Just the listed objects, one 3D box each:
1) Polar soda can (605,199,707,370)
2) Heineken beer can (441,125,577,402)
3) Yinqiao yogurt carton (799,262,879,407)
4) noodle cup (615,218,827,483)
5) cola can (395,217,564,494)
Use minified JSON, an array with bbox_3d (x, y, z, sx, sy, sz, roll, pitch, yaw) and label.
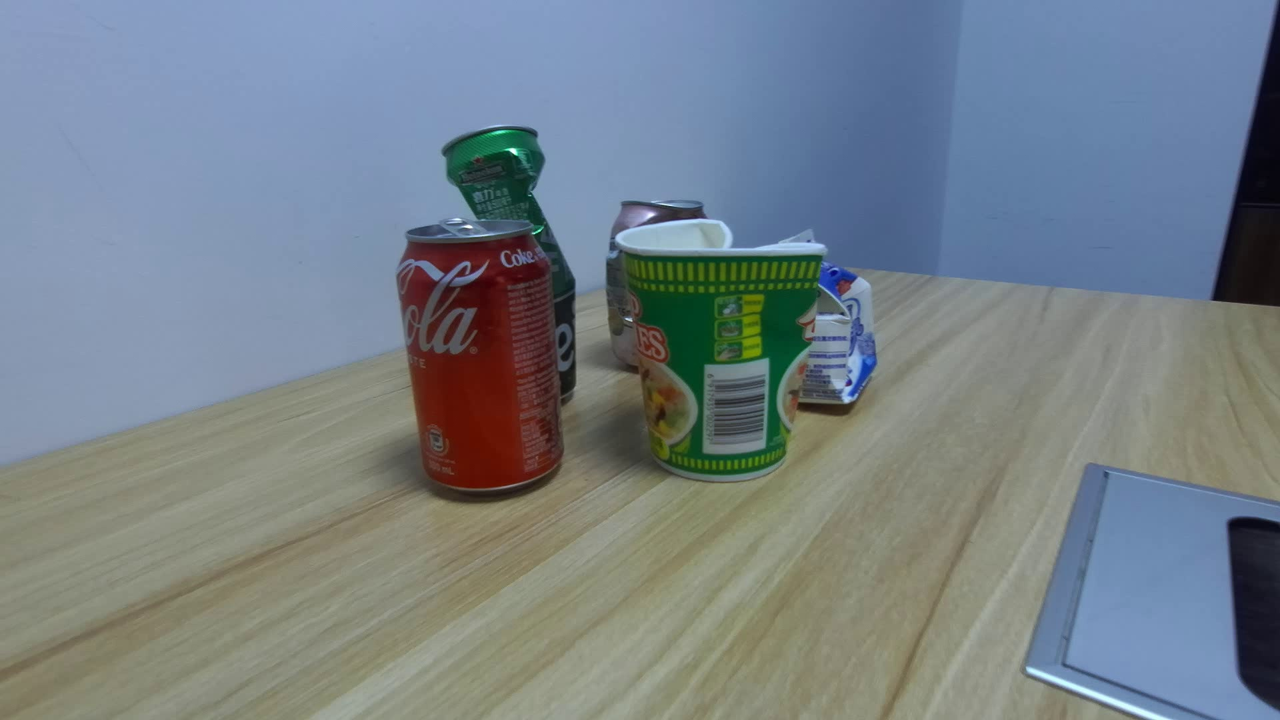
[{"bbox_3d":[0.015,-0.051,0.480,0.070,0.114,0.074,-1,20,-7],"label":"Polar soda can"},{"bbox_3d":[-0.073,-0.051,0.413,0.078,0.159,0.067,2,13,39],"label":"Heineken beer can"},{"bbox_3d":[0.096,-0.027,0.419,0.071,0.094,0.077,0,17,28],"label":"Yinqiao yogurt carton"},{"bbox_3d":[0.034,-0.005,0.342,0.087,0.109,0.093,-3,16,-4],"label":"noodle cup"},{"bbox_3d":[-0.075,-0.001,0.339,0.068,0.120,0.068,-4,11,1],"label":"cola can"}]
